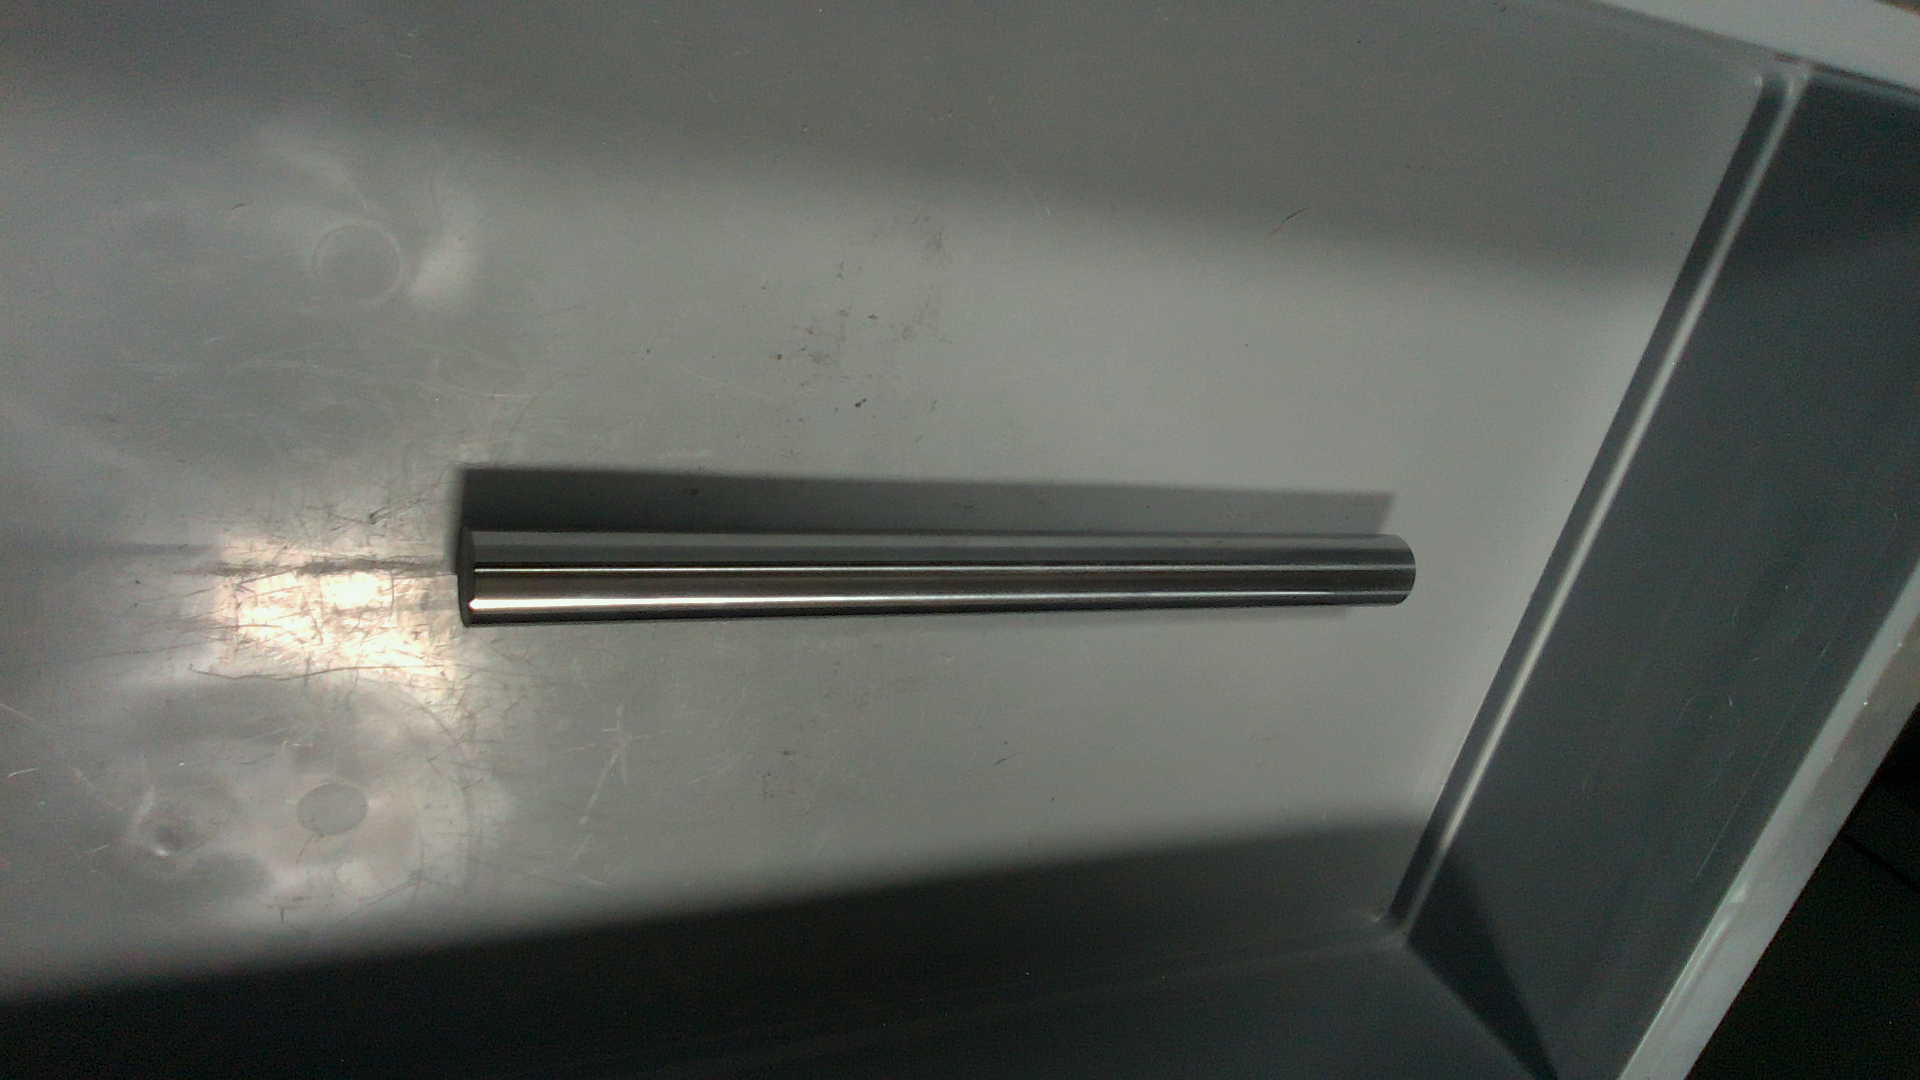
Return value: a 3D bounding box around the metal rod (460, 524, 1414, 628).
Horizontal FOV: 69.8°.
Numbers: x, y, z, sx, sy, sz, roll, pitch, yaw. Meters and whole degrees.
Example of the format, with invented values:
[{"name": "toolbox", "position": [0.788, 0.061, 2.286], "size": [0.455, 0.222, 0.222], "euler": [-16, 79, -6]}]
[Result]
[{"name": "metal rod", "position": [0.014, 0.009, 0.400], "size": [0.301, 0.025, 0.025], "euler": [0, 118, -29]}]
